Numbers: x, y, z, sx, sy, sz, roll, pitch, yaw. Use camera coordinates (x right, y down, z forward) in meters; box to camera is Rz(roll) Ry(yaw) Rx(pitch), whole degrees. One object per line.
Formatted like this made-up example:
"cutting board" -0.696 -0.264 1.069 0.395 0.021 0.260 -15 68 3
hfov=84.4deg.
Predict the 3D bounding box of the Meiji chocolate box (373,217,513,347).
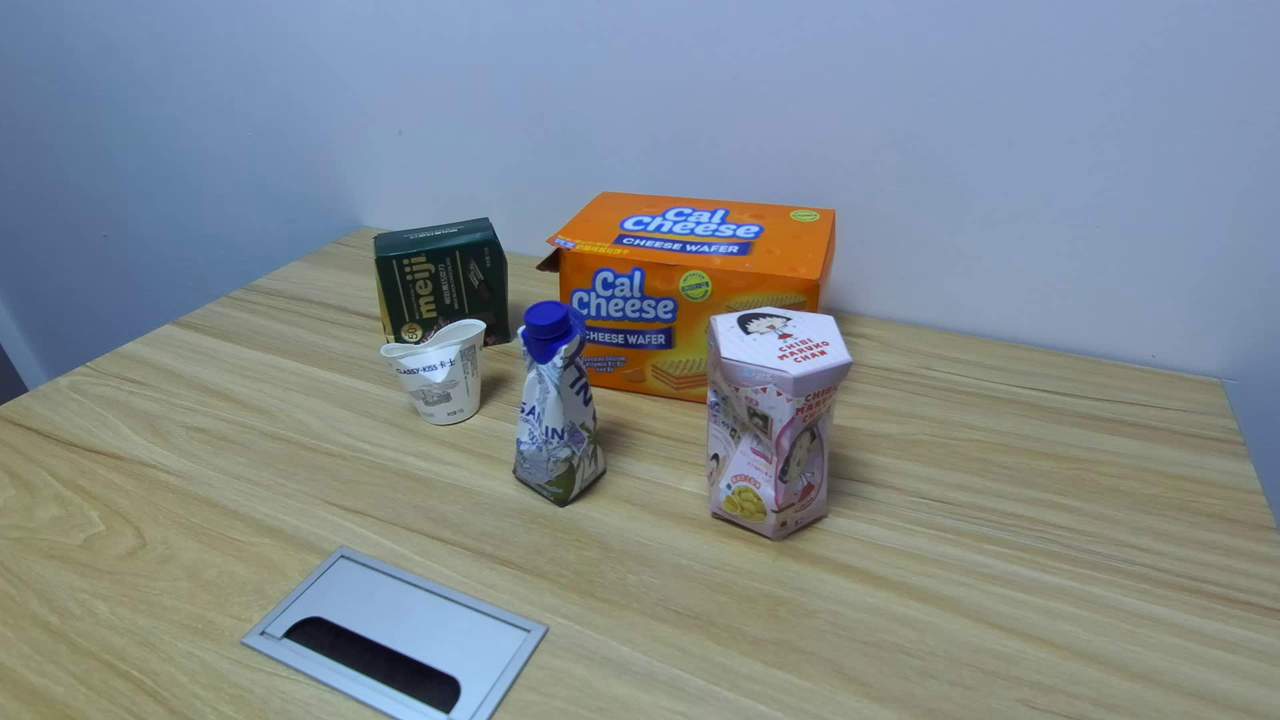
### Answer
"Meiji chocolate box" -0.185 -0.068 0.669 0.123 0.116 0.058 -9 32 -12

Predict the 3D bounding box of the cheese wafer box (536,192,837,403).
"cheese wafer box" 0.048 -0.059 0.619 0.226 0.137 0.150 8 35 15

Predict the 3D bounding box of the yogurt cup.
"yogurt cup" -0.164 0.009 0.584 0.053 0.071 0.075 19 38 30

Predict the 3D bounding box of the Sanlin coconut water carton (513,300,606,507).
"Sanlin coconut water carton" -0.050 0.026 0.491 0.056 0.144 0.069 26 33 28
